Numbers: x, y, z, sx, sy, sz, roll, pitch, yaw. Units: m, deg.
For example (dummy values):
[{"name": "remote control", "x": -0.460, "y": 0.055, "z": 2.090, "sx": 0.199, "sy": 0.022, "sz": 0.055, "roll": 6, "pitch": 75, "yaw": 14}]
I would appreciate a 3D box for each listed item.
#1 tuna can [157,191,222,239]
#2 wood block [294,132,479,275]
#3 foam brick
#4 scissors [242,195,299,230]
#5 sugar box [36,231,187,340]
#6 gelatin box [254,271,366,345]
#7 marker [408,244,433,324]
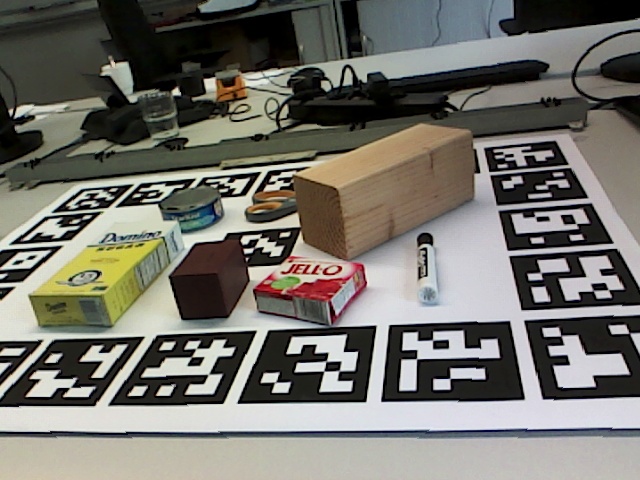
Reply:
[{"name": "tuna can", "x": -0.183, "y": -0.036, "z": 0.869, "sx": 0.086, "sy": 0.033, "sz": 0.086, "roll": -10, "pitch": 28, "yaw": 5}, {"name": "wood block", "x": 0.085, "y": -0.049, "z": 0.739, "sx": 0.205, "sy": 0.090, "sz": 0.090, "roll": -26, "pitch": 30, "yaw": -27}, {"name": "foam brick", "x": -0.111, "y": 0.055, "z": 0.647, "sx": 0.053, "sy": 0.051, "sz": 0.078, "roll": -4, "pitch": 29, "yaw": 16}, {"name": "scissors", "x": -0.011, "y": -0.042, "z": 0.838, "sx": 0.204, "sy": 0.016, "sz": 0.087, "roll": -3, "pitch": 29, "yaw": 22}, {"name": "sugar box", "x": -0.238, "y": 0.048, "z": 0.730, "sx": 0.093, "sy": 0.045, "sz": 0.176, "roll": -2, "pitch": 29, "yaw": 18}, {"name": "gelatin box", "x": -0.010, "y": 0.065, "z": 0.620, "sx": 0.090, "sy": 0.030, "sz": 0.073, "roll": 6, "pitch": 33, "yaw": 31}, {"name": "marker", "x": 0.103, "y": 0.040, "z": 0.628, "sx": 0.020, "sy": 0.019, "sz": 0.121, "roll": -4, "pitch": 31, "yaw": 15}]
